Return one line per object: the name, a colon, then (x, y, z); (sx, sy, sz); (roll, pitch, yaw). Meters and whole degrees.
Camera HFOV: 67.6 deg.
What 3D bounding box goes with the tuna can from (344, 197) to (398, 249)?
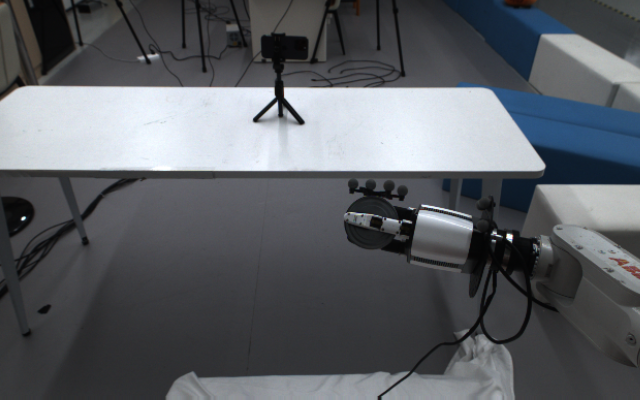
tuna can: (0.083, 0.035, 0.769); (0.085, 0.085, 0.034); (11, -7, 13)
